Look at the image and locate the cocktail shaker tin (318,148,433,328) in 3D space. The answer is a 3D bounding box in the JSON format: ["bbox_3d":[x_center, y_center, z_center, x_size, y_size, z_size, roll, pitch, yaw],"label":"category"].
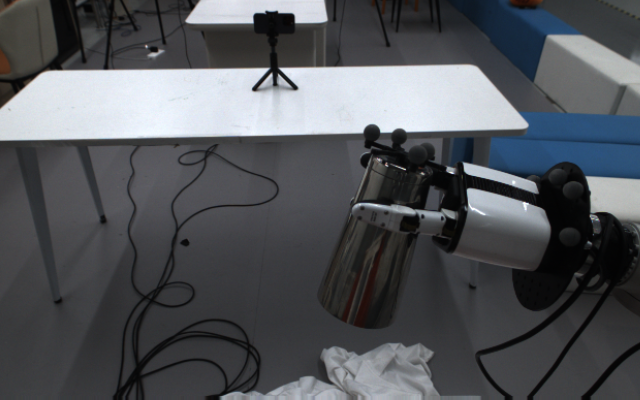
[{"bbox_3d":[0.066,0.037,0.522,0.093,0.170,0.093,14,18,-5],"label":"cocktail shaker tin"}]
